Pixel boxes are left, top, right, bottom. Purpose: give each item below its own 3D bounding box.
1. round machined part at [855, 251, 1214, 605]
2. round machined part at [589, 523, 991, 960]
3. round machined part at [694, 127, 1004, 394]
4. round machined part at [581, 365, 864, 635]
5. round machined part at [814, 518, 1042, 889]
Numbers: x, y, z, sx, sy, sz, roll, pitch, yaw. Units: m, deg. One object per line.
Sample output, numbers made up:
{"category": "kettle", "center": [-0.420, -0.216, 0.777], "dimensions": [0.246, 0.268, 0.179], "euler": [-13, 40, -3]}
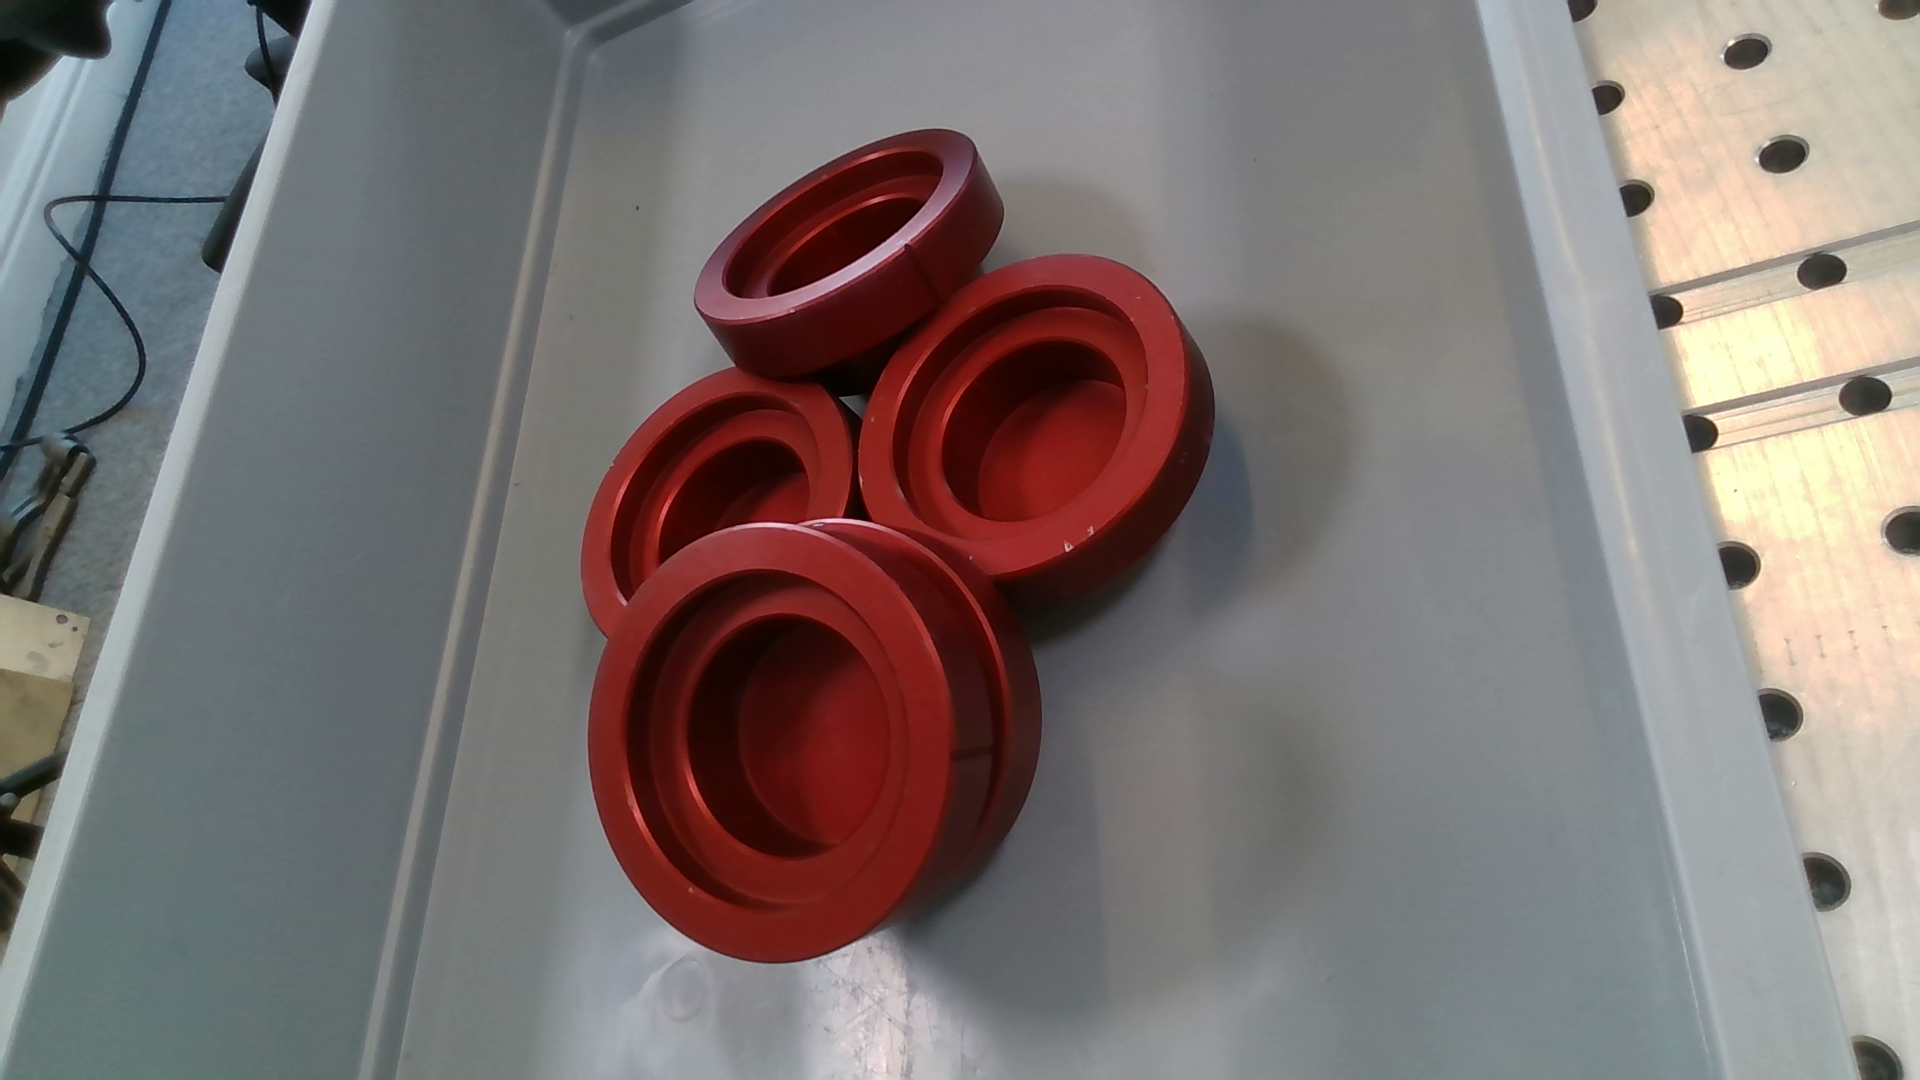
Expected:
{"category": "round machined part", "center": [0.023, -0.027, 0.379], "dimensions": [0.098, 0.042, 0.098], "euler": [-14, 59, 25]}
{"category": "round machined part", "center": [-0.037, 0.046, 0.329], "dimensions": [0.098, 0.042, 0.098], "euler": [-2, 86, 26]}
{"category": "round machined part", "center": [-0.030, -0.083, 0.430], "dimensions": [0.098, 0.042, 0.098], "euler": [-21, 36, 16]}
{"category": "round machined part", "center": [-0.064, -0.002, 0.421], "dimensions": [0.098, 0.042, 0.098], "euler": [-14, 59, 25]}
{"category": "round machined part", "center": [-0.024, 0.044, 0.358], "dimensions": [0.098, 0.042, 0.098], "euler": [-2, 86, 25]}
